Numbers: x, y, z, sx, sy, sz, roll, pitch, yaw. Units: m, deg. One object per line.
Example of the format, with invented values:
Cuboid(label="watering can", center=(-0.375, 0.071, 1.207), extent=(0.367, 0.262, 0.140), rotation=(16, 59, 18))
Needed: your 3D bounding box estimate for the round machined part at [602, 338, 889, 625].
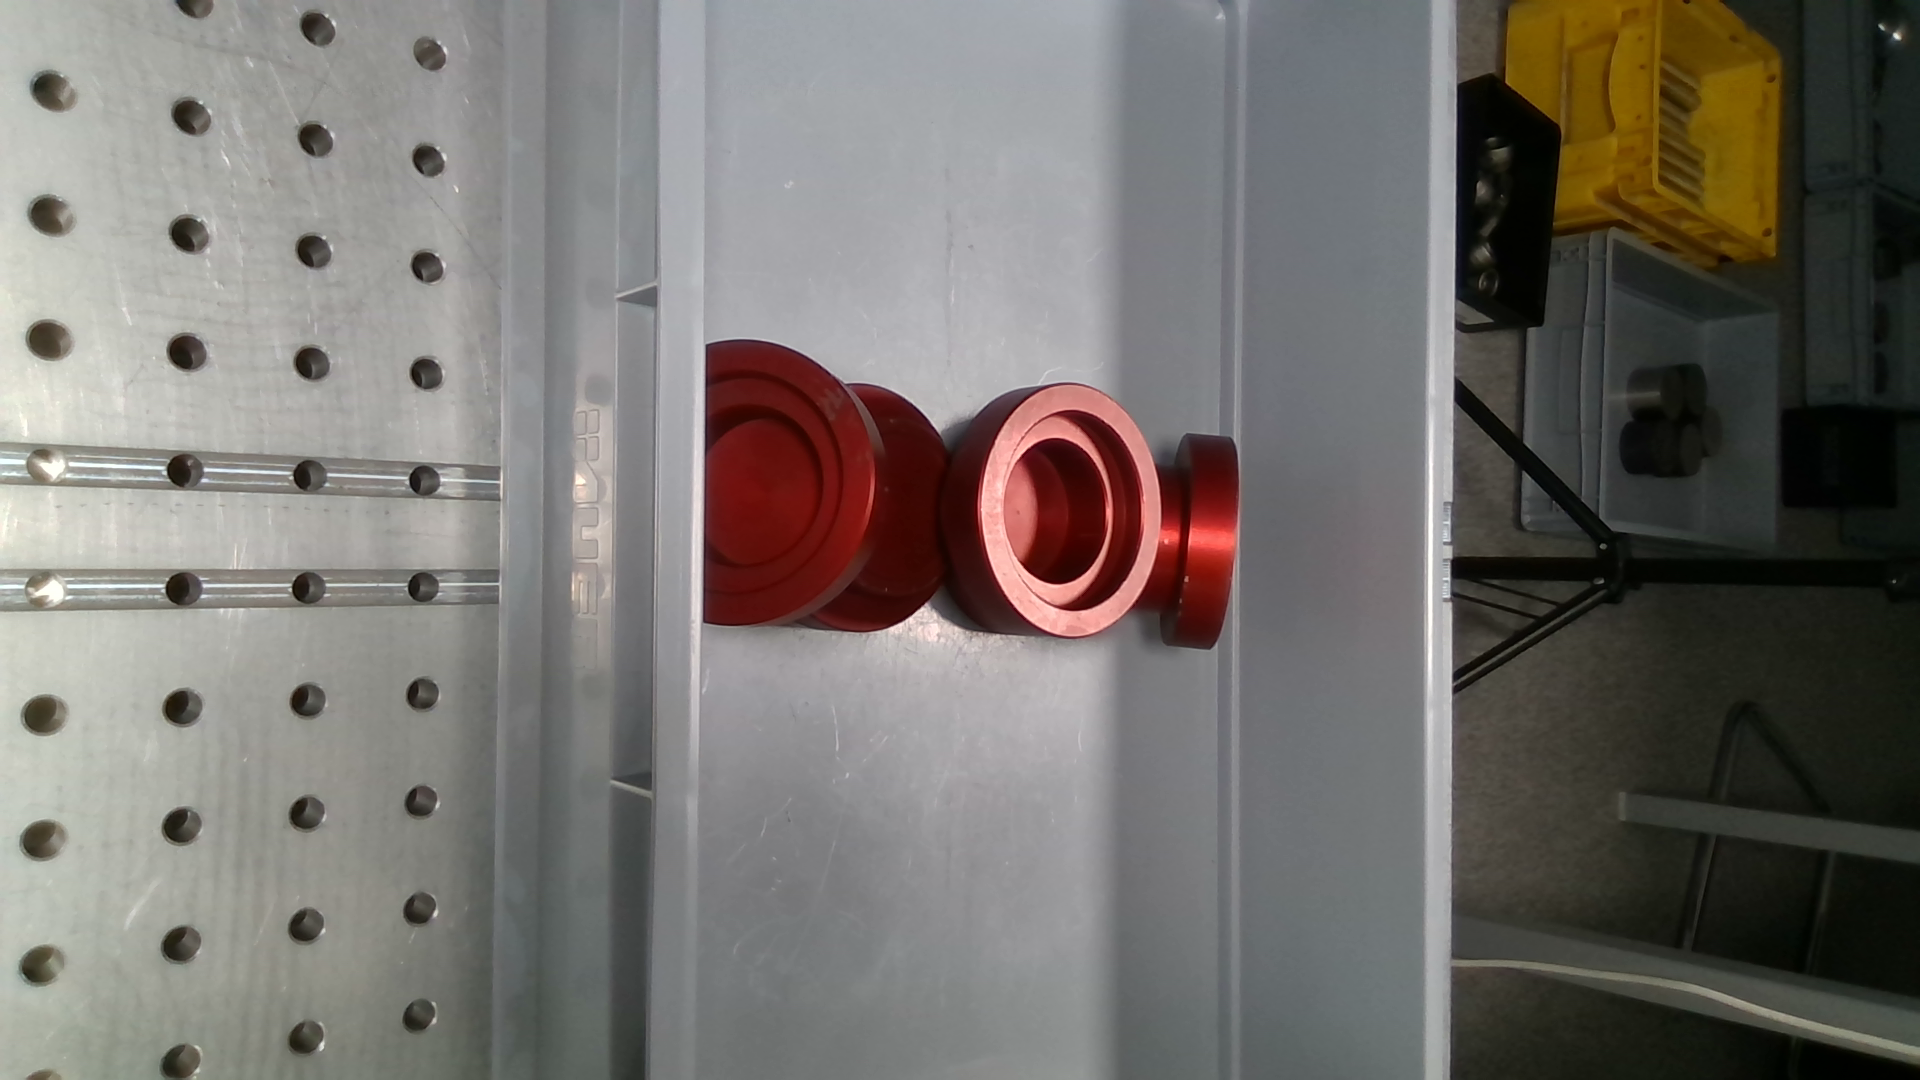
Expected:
Cuboid(label="round machined part", center=(-0.072, -0.018, 0.486), extent=(0.042, 0.098, 0.098), rotation=(22, 72, -77))

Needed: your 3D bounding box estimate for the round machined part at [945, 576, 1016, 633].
Cuboid(label="round machined part", center=(0.038, -0.007, 0.602), extent=(0.098, 0.042, 0.098), rotation=(0, 90, -40))

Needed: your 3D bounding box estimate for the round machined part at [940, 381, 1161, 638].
Cuboid(label="round machined part", center=(0.031, -0.012, 0.540), extent=(0.098, 0.042, 0.098), rotation=(0, 90, -40))

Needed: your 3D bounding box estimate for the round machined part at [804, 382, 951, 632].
Cuboid(label="round machined part", center=(-0.037, -0.013, 0.539), extent=(0.098, 0.042, 0.098), rotation=(0, 90, -40))

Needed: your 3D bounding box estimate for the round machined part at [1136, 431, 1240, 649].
Cuboid(label="round machined part", center=(0.098, -0.001, 0.629), extent=(0.042, 0.098, 0.098), rotation=(5, 85, 2))
